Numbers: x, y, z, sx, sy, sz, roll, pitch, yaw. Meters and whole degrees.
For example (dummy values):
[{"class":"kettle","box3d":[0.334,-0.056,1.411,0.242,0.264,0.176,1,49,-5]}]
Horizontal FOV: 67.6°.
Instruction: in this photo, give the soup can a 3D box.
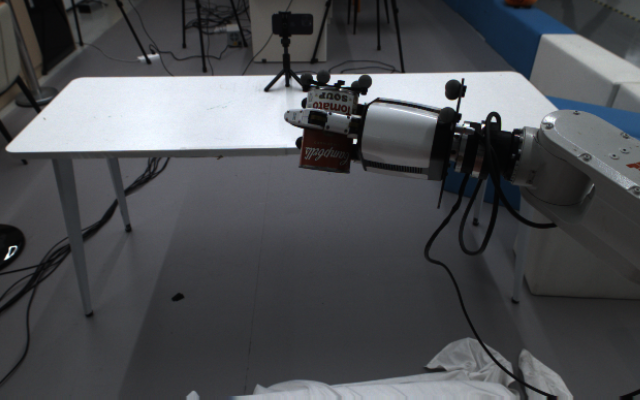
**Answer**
[{"class":"soup can","box3d":[0.012,-0.088,0.623,0.067,0.101,0.067,7,3,0]}]
